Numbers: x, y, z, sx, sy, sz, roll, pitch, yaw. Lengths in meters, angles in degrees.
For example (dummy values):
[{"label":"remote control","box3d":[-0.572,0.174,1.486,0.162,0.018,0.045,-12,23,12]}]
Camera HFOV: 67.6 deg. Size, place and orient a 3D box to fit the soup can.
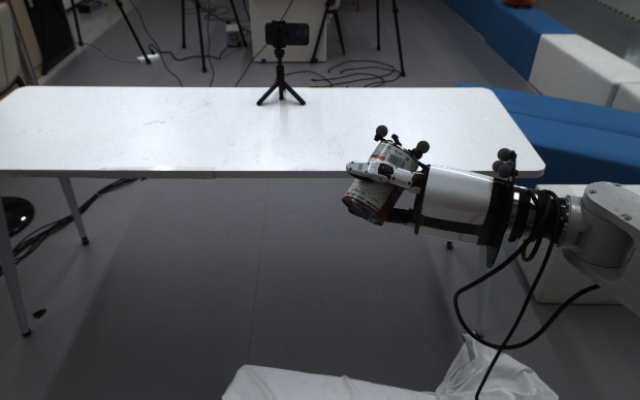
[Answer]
[{"label":"soup can","box3d":[0.086,-0.025,0.686,0.067,0.067,0.101,27,78,32]}]
